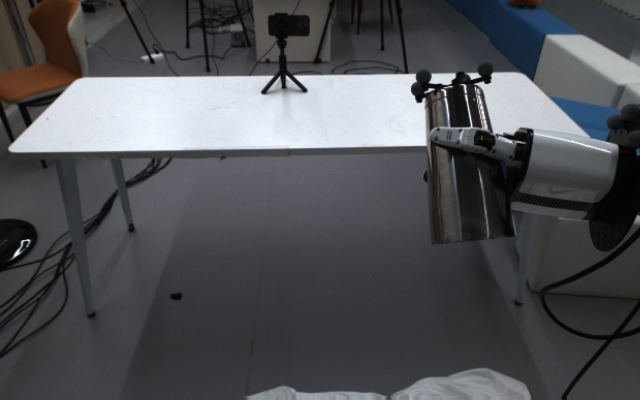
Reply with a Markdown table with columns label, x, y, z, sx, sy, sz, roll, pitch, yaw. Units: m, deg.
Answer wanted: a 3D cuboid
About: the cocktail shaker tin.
| label | x | y | z | sx | sy | sz | roll | pitch | yaw |
| --- | --- | --- | --- | --- | --- | --- | --- | --- | --- |
| cocktail shaker tin | 0.164 | -0.038 | 0.552 | 0.093 | 0.170 | 0.093 | -6 | -7 | -1 |
